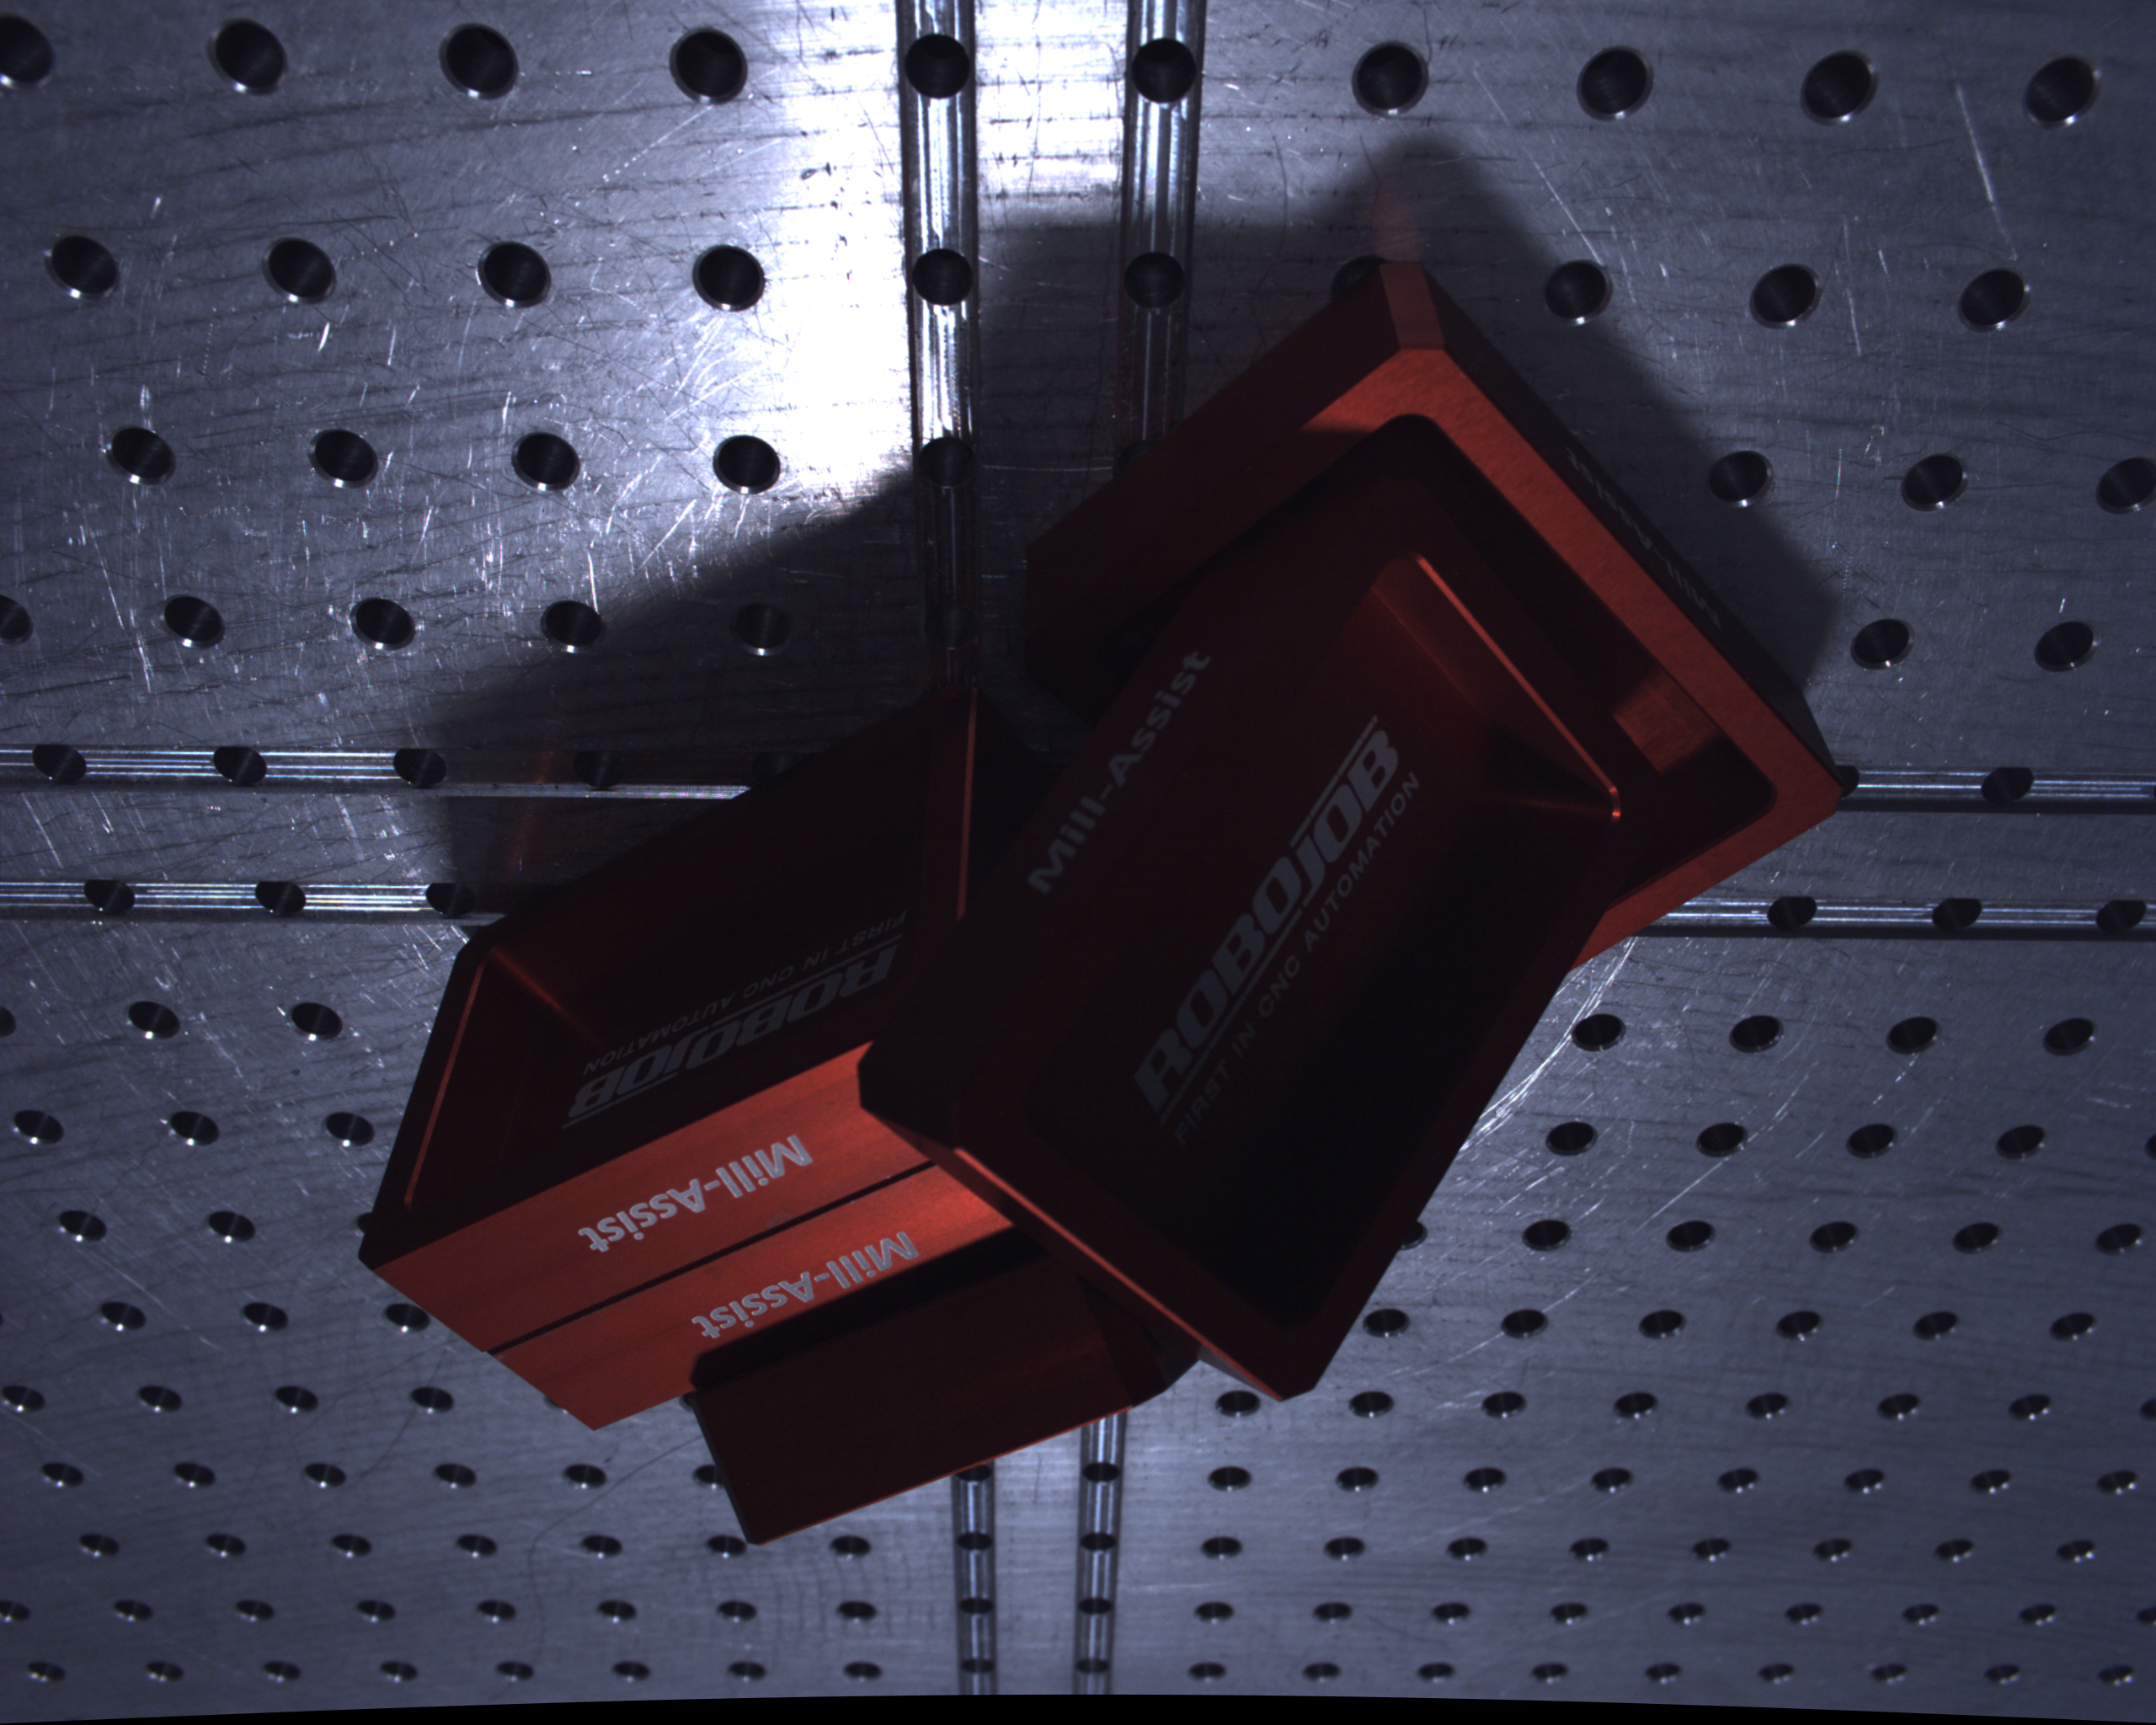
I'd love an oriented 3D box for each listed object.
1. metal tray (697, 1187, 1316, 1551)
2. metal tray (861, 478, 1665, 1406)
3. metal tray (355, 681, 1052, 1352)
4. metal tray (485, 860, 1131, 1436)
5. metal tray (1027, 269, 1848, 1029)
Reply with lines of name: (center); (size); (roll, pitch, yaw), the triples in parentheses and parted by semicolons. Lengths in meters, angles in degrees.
metal tray: (-0.007, 0.093, 0.430); (0.090, 0.131, 0.030); (-25, 84, 20)
metal tray: (0.036, 0.012, 0.348); (0.090, 0.030, 0.130); (43, 73, -30)
metal tray: (-0.067, 0.028, 0.391); (0.130, 0.090, 0.030); (-26, 126, 20)
metal tray: (-0.050, 0.048, 0.407); (0.130, 0.090, 0.030); (-26, 126, 20)
metal tray: (0.066, -0.032, 0.380); (0.090, 0.030, 0.130); (-36, 122, 26)
